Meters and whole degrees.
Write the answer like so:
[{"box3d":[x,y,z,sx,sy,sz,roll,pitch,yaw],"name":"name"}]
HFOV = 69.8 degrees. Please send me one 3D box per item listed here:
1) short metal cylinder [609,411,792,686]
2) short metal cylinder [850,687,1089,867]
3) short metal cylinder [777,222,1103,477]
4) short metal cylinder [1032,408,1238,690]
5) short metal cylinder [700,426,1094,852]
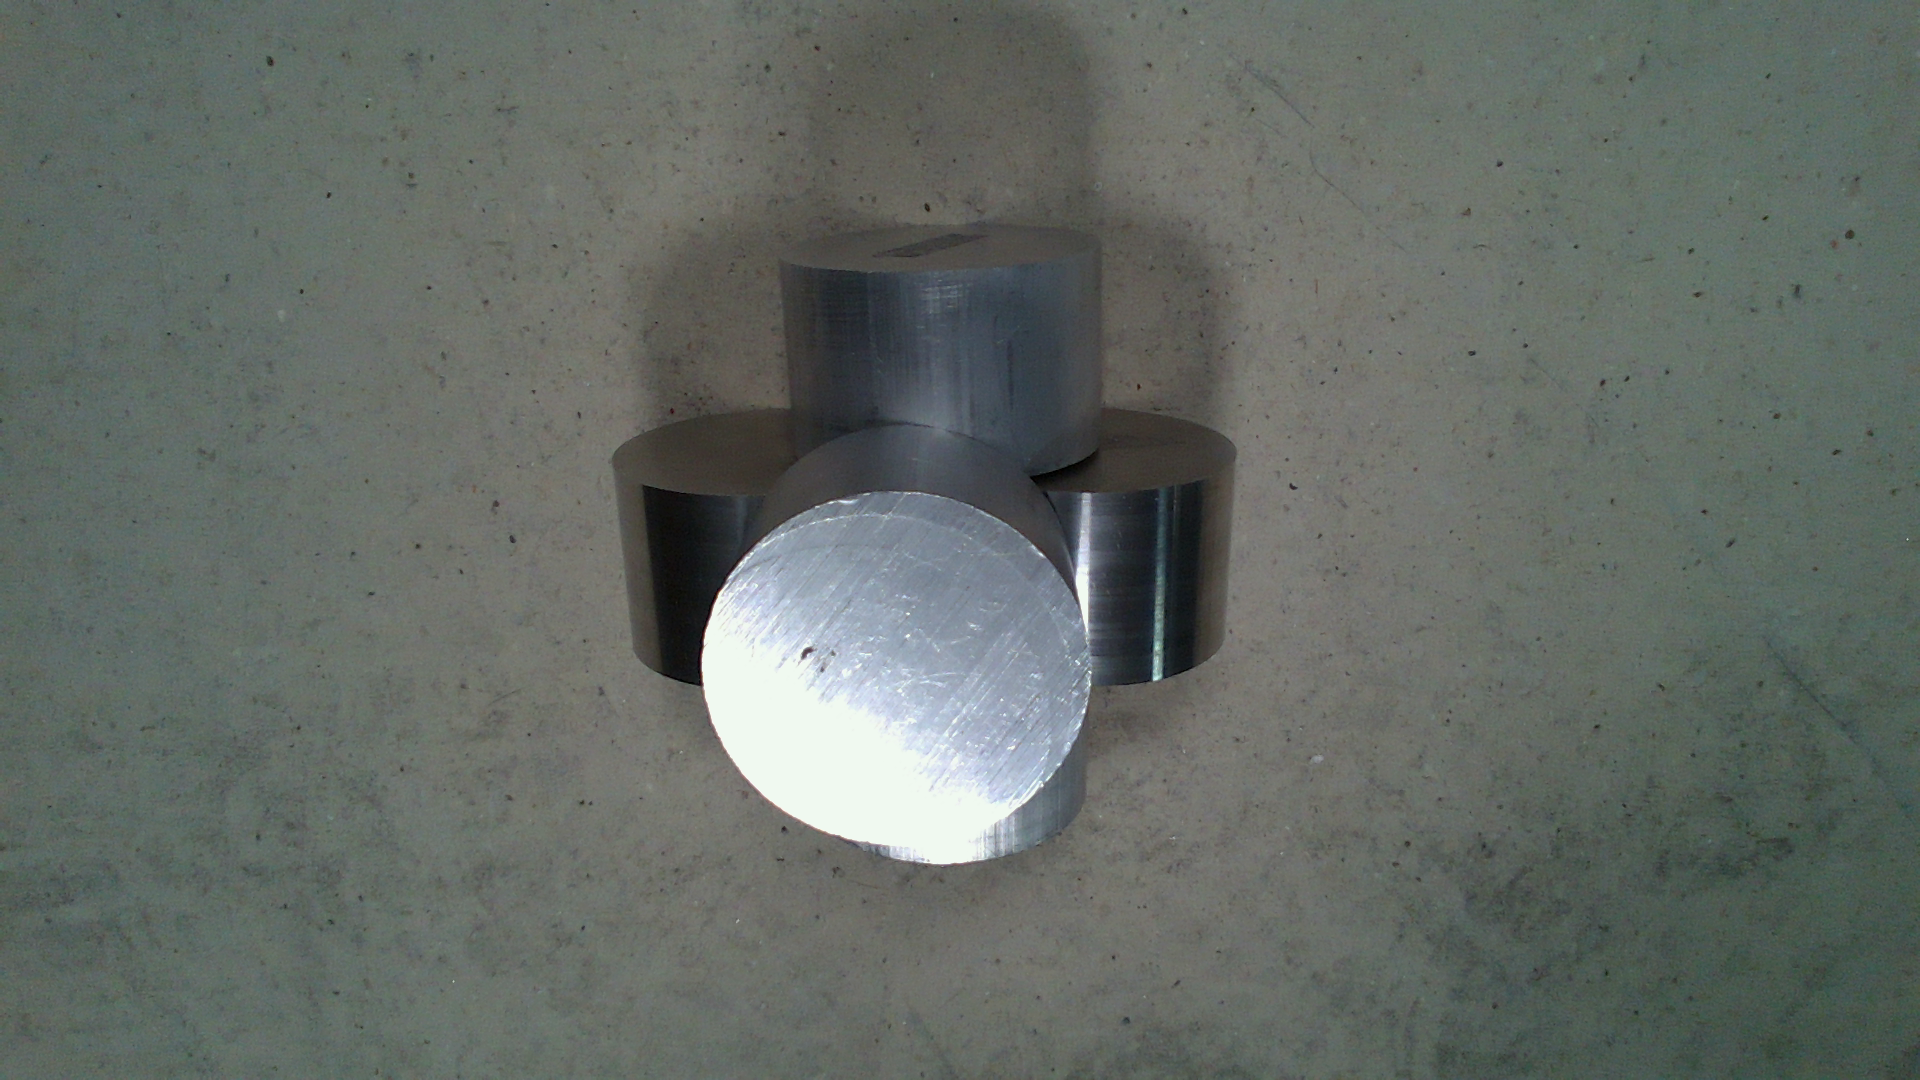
[{"box3d":[-0.049,0.000,0.365,0.080,0.080,0.050,-1,110,0],"name":"short metal cylinder"},{"box3d":[-0.004,0.047,0.382,0.080,0.080,0.050,0,110,0],"name":"short metal cylinder"},{"box3d":[-0.004,-0.049,0.346,0.080,0.080,0.050,-2,110,1],"name":"short metal cylinder"},{"box3d":[0.032,-0.001,0.365,0.080,0.080,0.050,0,110,0],"name":"short metal cylinder"},{"box3d":[-0.013,0.020,0.302,0.080,0.050,0.080,0,110,0],"name":"short metal cylinder"}]
